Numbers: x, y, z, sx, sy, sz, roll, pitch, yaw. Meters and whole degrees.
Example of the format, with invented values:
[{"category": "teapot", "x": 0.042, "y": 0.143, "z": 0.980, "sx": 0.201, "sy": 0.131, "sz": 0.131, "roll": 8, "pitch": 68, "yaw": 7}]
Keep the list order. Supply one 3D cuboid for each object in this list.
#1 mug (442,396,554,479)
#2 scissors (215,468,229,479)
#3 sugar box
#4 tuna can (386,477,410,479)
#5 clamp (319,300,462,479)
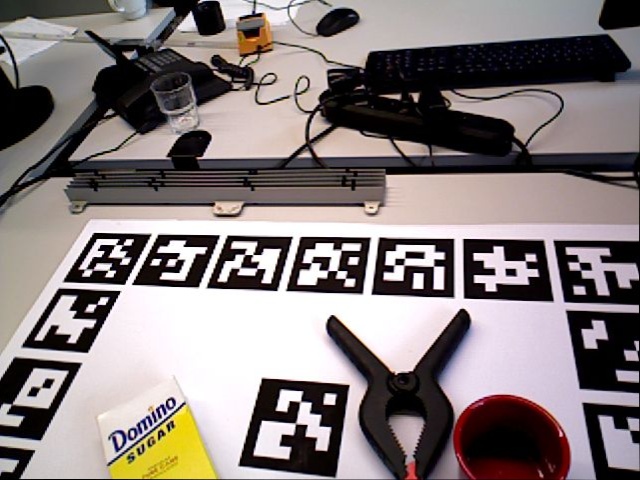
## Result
[{"category": "mug", "x": 0.153, "y": 0.200, "z": 0.469, "sx": 0.092, "sy": 0.083, "sz": 0.116, "roll": -18, "pitch": 42, "yaw": -7}, {"category": "scissors", "x": -0.053, "y": 0.247, "z": 0.505, "sx": 0.202, "sy": 0.016, "sz": 0.086, "roll": -6, "pitch": 42, "yaw": 5}, {"category": "sugar box", "x": -0.156, "y": 0.217, "z": 0.533, "sx": 0.092, "sy": 0.046, "sz": 0.175, "roll": -26, "pitch": 41, "yaw": -13}, {"category": "tuna can", "x": 0.086, "y": 0.233, "z": 0.444, "sx": 0.086, "sy": 0.087, "sz": 0.033, "roll": 15, "pitch": 50, "yaw": 24}, {"category": "clamp", "x": 0.083, "y": 0.154, "z": 0.570, "sx": 0.165, "sy": 0.037, "sz": 0.199, "roll": -6, "pitch": 47, "yaw": 6}]
